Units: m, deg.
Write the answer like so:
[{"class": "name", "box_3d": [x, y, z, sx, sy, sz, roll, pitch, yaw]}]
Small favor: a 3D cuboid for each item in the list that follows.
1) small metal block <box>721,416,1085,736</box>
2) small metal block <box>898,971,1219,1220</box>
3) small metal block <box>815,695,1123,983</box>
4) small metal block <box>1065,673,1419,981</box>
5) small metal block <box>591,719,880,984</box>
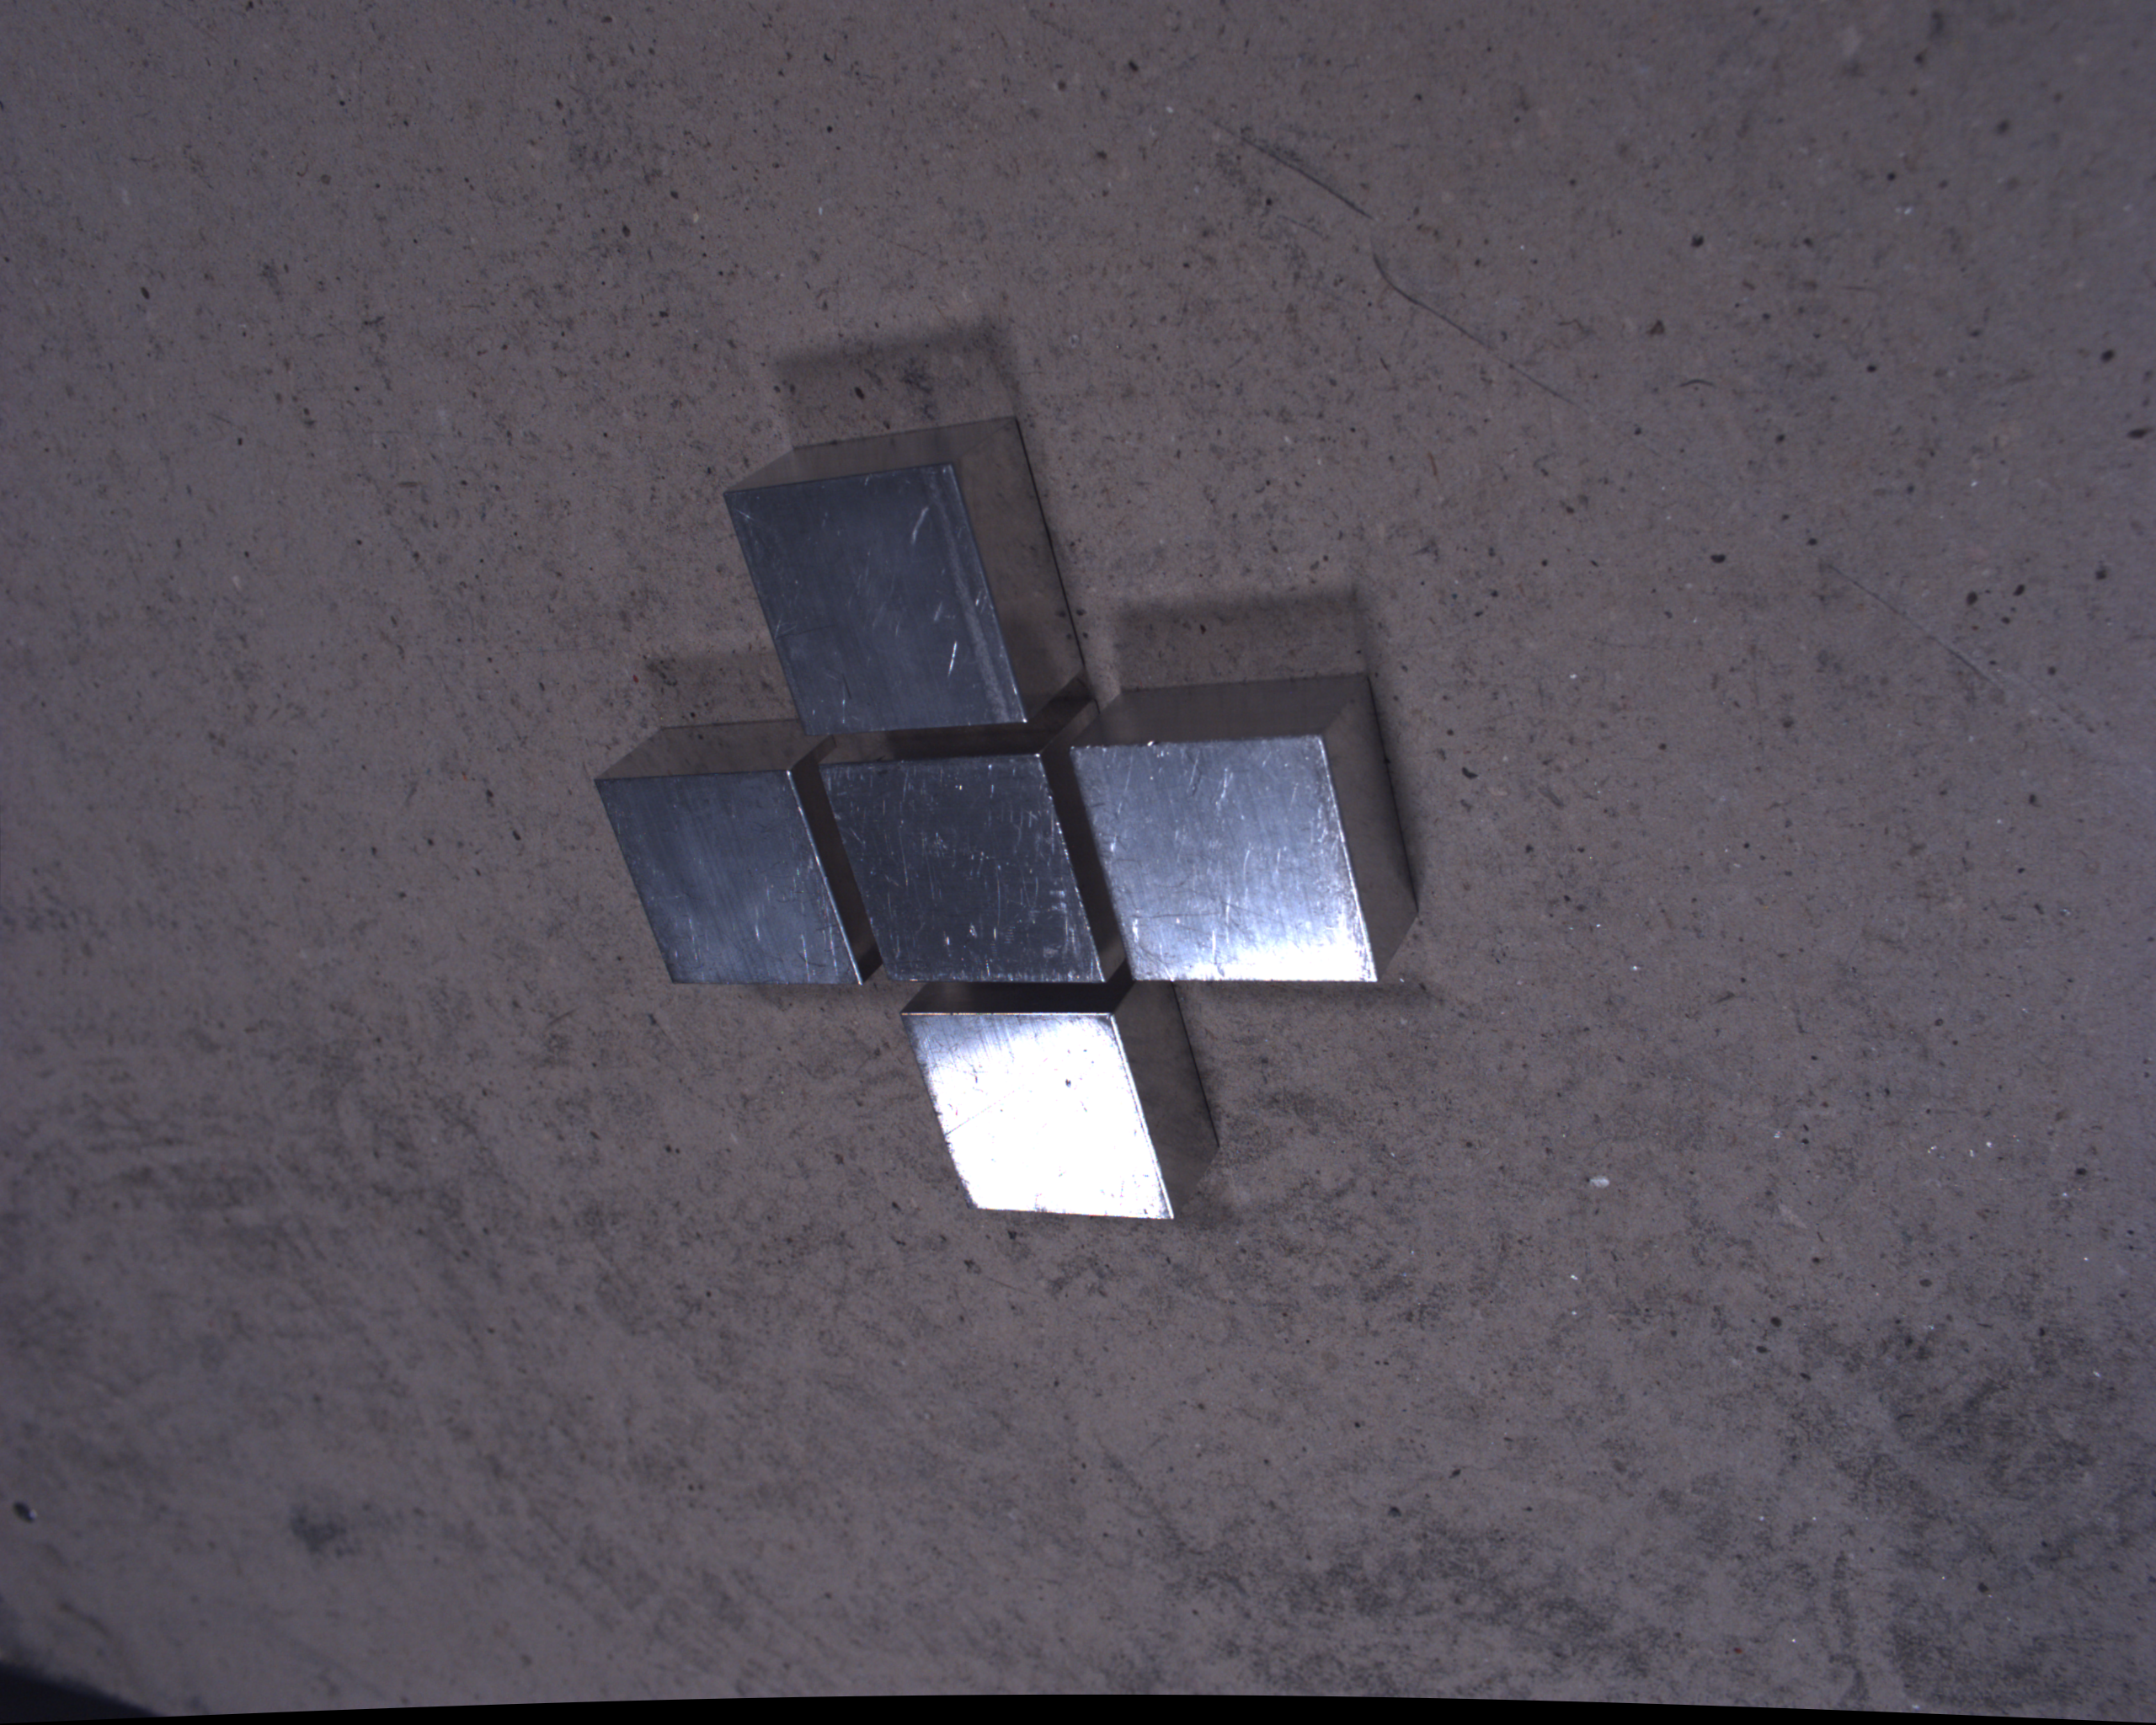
[{"class": "small metal block", "box_3d": [-0.032, -0.053, 0.391, 0.050, 0.025, 0.050, -2, 118, 28]}, {"class": "small metal block", "box_3d": [-0.003, 0.046, 0.437, 0.050, 0.025, 0.050, -2, 118, 29]}, {"class": "small metal block", "box_3d": [-0.018, -0.004, 0.414, 0.050, 0.025, 0.050, -2, 118, 28]}, {"class": "small metal block", "box_3d": [0.031, -0.006, 0.387, 0.050, 0.025, 0.050, -2, 118, 28]}, {"class": "small metal block", "box_3d": [-0.068, -0.002, 0.441, 0.050, 0.025, 0.050, -2, 118, 28]}]
